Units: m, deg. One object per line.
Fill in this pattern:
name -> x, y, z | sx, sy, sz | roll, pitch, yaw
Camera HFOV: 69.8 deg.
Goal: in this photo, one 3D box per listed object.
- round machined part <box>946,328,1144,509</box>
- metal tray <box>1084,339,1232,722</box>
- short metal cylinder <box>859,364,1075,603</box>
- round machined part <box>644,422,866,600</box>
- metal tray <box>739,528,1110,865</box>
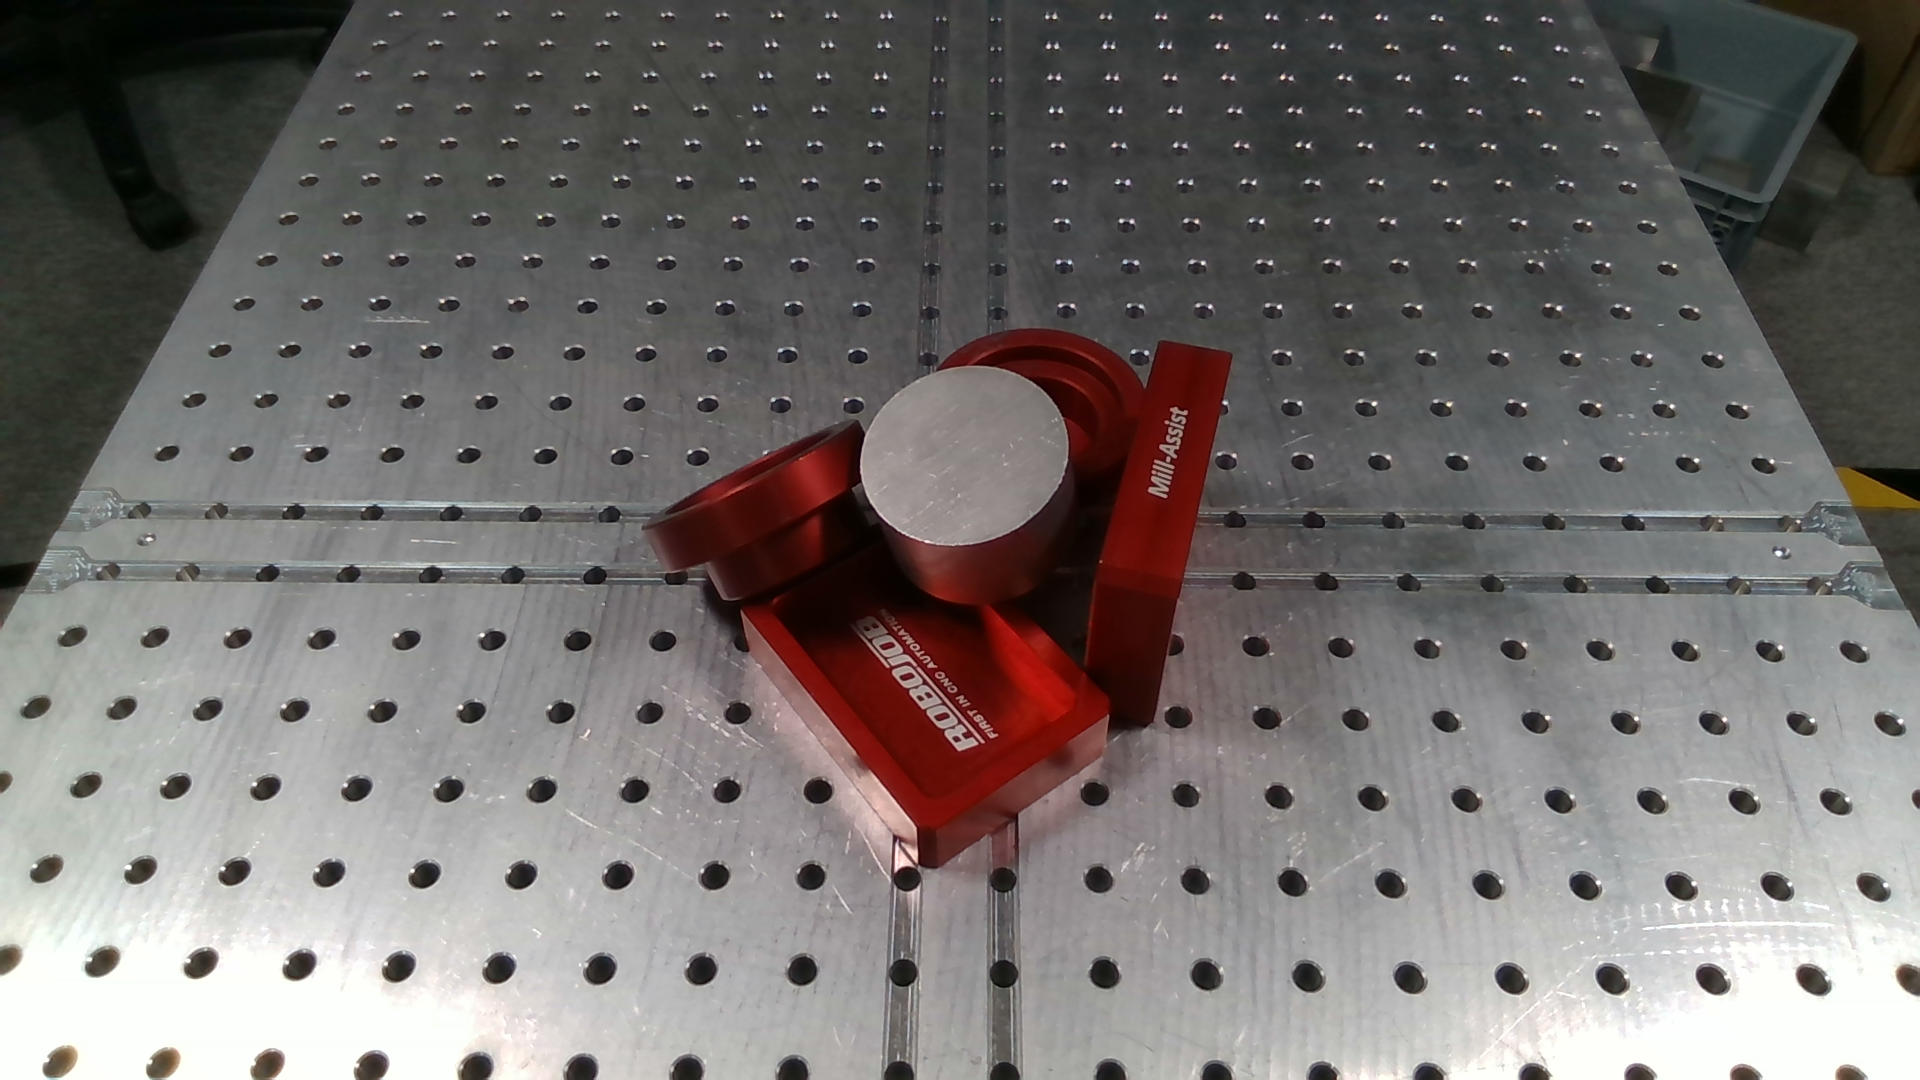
round machined part -> 0.034, -0.047, 0.619 | 0.098, 0.042, 0.098 | 0, 50, 0
metal tray -> 0.079, -0.005, 0.551 | 0.030, 0.090, 0.130 | 12, 51, 10
short metal cylinder -> 0.005, -0.022, 0.543 | 0.080, 0.050, 0.080 | -4, 62, 8
round machined part -> -0.077, -0.010, 0.564 | 0.098, 0.042, 0.098 | -25, 11, 5
metal tray -> -0.015, 0.052, 0.542 | 0.090, 0.030, 0.130 | -30, 56, -23
